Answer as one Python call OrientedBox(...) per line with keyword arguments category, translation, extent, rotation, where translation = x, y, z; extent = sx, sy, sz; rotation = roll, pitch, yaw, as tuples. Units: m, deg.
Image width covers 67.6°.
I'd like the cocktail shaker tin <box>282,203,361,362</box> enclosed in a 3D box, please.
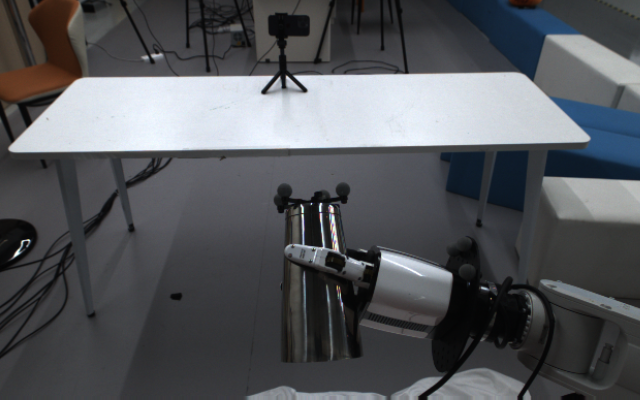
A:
OrientedBox(category="cocktail shaker tin", translation=(-0.002, 0.095, 0.558), extent=(0.093, 0.093, 0.170), rotation=(-3, 76, -7))
